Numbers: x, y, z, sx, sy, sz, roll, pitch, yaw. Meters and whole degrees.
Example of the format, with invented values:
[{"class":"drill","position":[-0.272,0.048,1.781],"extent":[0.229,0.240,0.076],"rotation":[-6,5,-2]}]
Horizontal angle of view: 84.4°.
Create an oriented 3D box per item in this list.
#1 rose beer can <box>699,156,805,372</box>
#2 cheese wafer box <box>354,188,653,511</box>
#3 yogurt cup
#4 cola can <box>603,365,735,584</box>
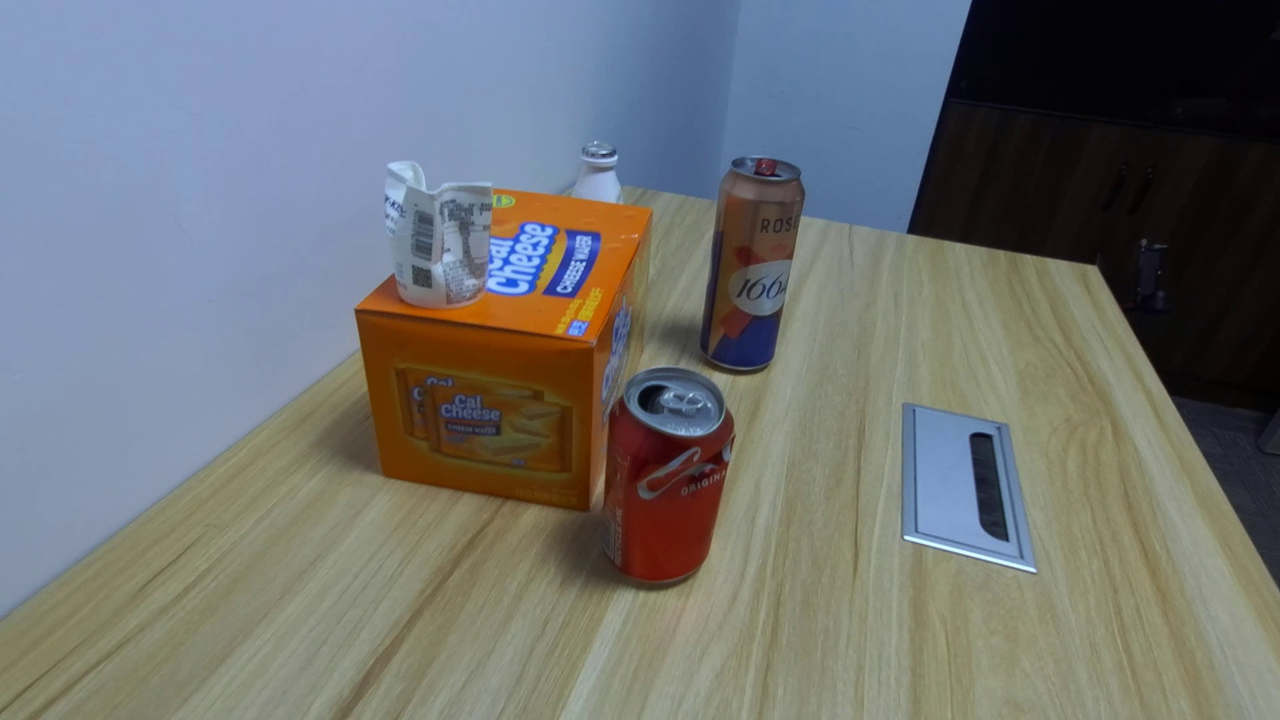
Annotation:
[{"class":"rose beer can","position":[0.091,-0.075,0.583],"extent":[0.069,0.169,0.068],"rotation":[5,30,-2]},{"class":"cheese wafer box","position":[-0.080,-0.022,0.519],"extent":[0.148,0.129,0.222],"rotation":[9,33,6]},{"class":"yogurt cup","position":[-0.117,-0.072,0.409],"extent":[0.055,0.072,0.054],"rotation":[-17,40,-30]},{"class":"cola can","position":[0.015,0.064,0.401],"extent":[0.072,0.117,0.065],"rotation":[-12,35,-24]}]
